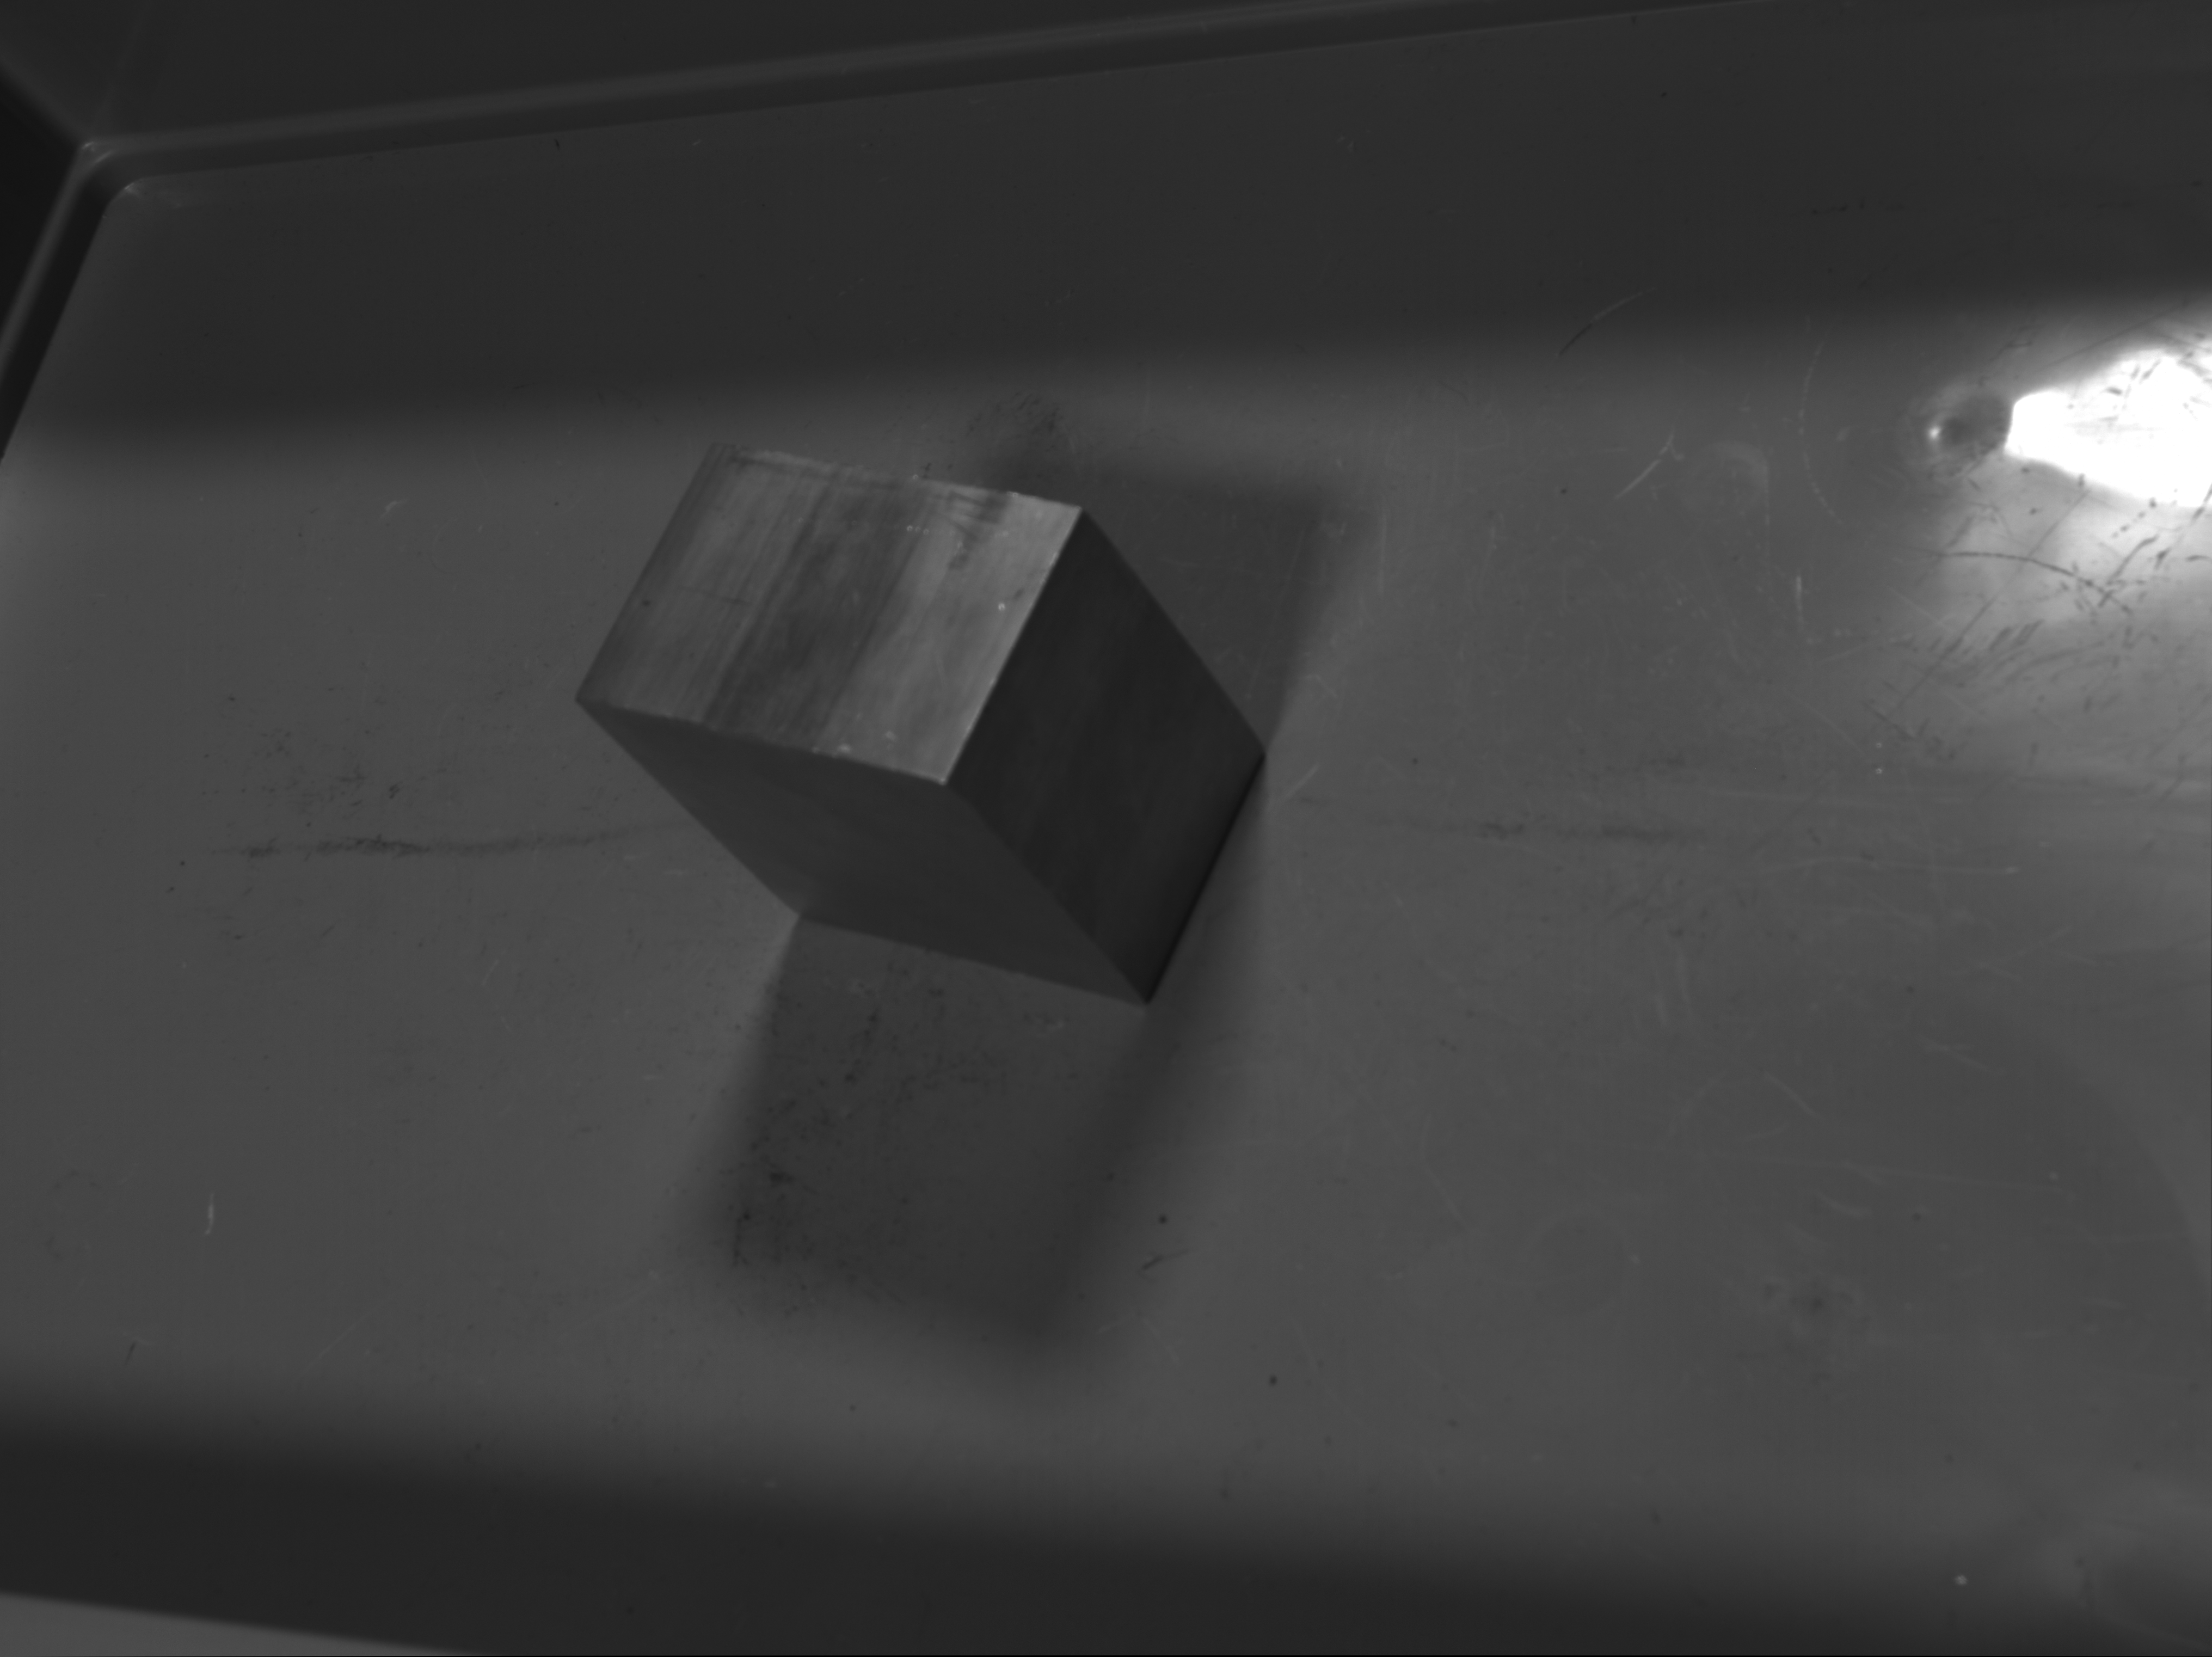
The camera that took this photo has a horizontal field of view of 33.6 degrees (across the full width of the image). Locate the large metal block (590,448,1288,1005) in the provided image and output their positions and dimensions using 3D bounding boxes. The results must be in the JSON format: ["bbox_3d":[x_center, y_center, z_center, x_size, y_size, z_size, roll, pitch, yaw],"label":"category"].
[{"bbox_3d":[-0.027,-0.017,0.632,0.080,0.080,0.050,13,68,34],"label":"large metal block"}]
